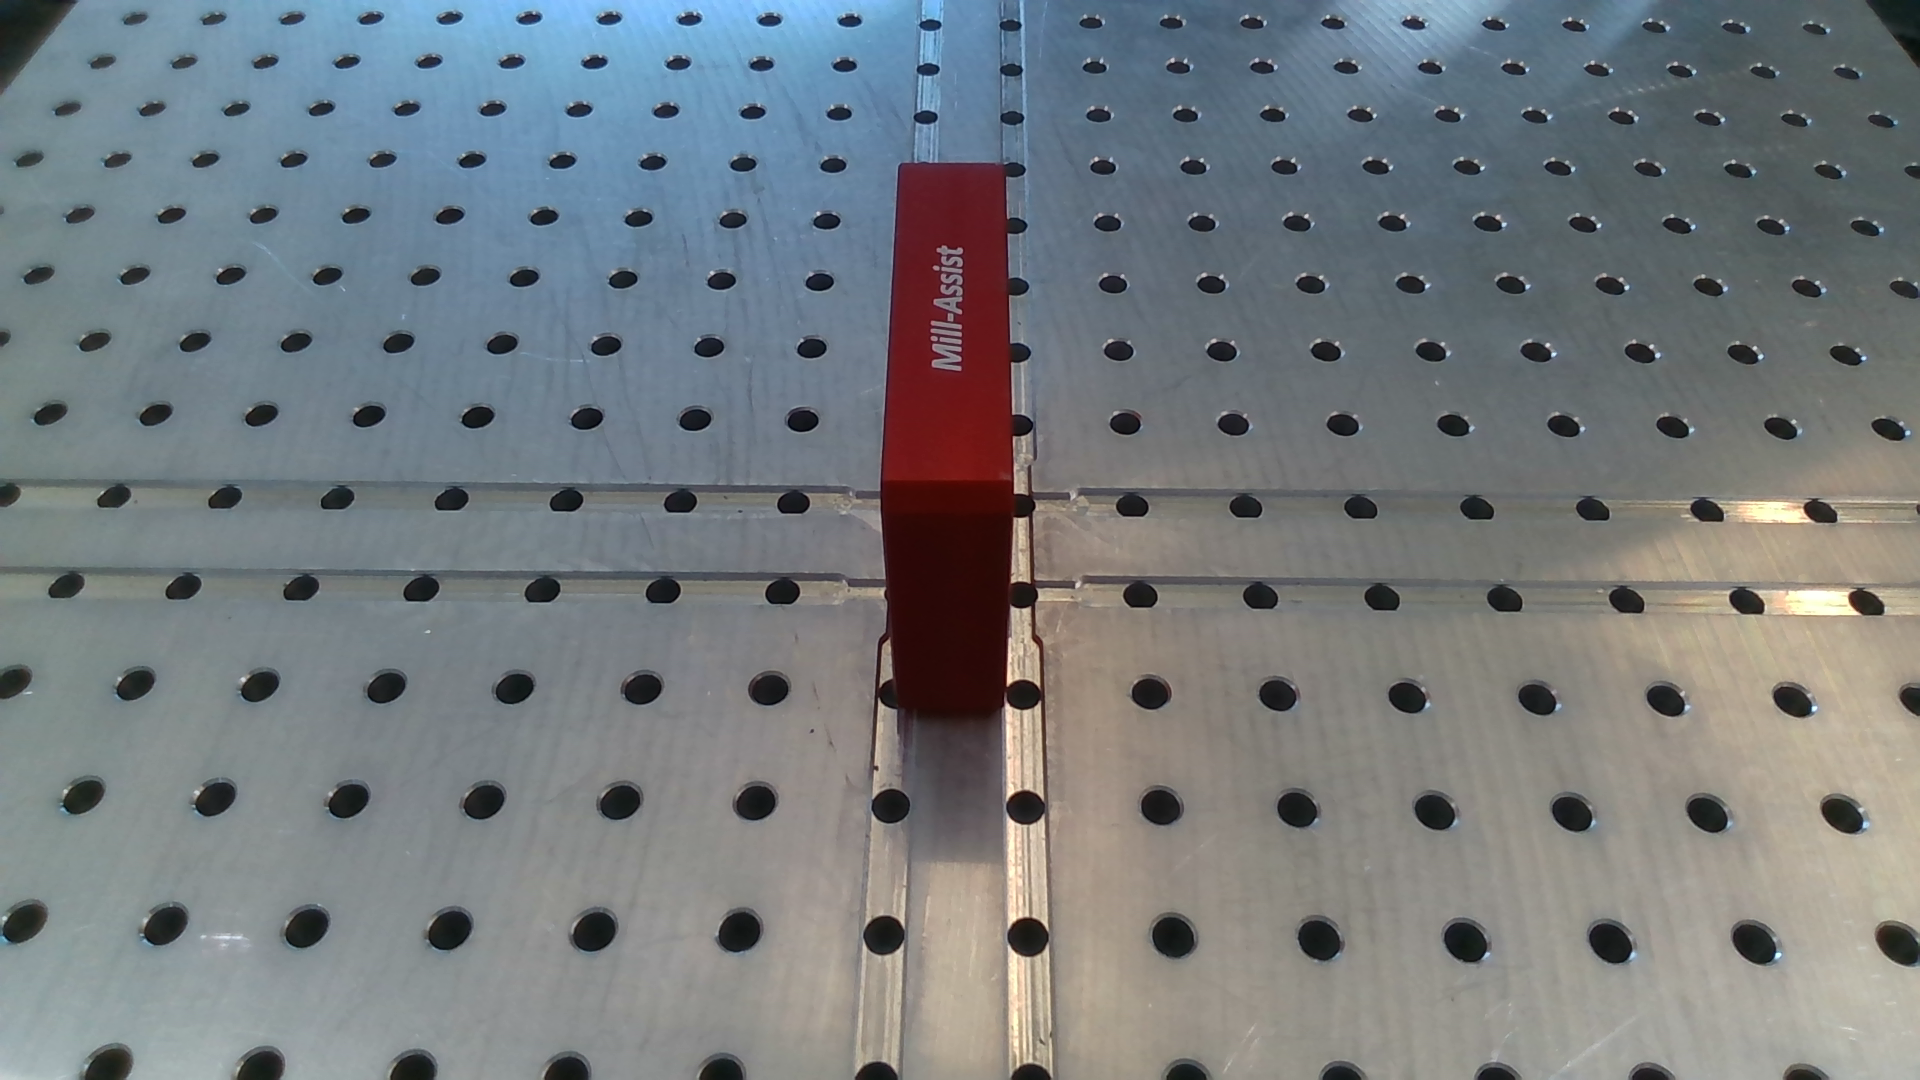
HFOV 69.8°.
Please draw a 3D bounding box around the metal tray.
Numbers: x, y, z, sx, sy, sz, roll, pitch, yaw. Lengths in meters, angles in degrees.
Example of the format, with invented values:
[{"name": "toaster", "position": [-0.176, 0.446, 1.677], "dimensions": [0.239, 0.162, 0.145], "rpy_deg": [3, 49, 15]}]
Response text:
[{"name": "metal tray", "position": [-0.003, -0.030, 0.379], "dimensions": [0.030, 0.090, 0.130], "rpy_deg": [0, 50, 0]}]
